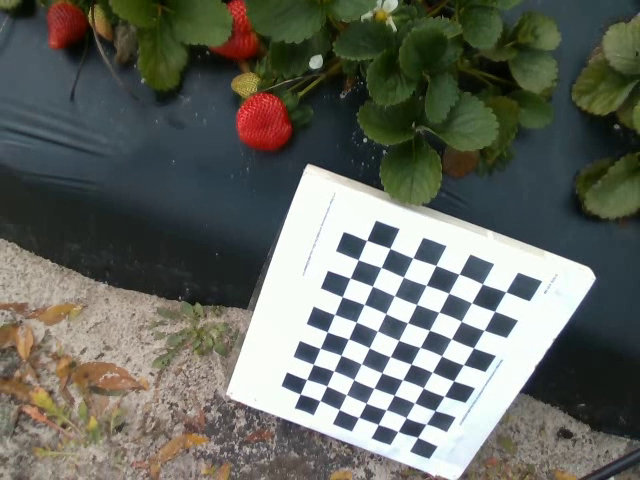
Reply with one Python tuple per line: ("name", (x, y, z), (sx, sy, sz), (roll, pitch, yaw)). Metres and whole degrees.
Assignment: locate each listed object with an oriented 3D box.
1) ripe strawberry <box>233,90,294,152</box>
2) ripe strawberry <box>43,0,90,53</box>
("ripe strawberry", (-0.057, -0.105, 0.660), (0.057, 0.056, 0.065), (-6, 30, 33))
("ripe strawberry", (-0.235, -0.194, 0.658), (0.044, 0.051, 0.041), (7, -16, 12))
